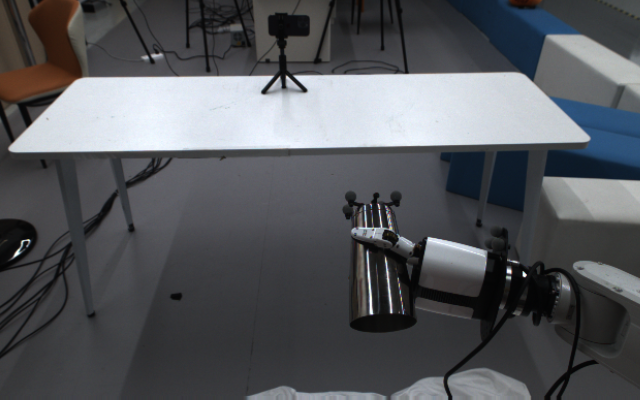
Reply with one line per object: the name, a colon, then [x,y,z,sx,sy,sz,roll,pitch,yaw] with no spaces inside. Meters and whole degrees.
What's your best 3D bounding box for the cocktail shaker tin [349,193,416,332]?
cocktail shaker tin: [0.082,0.093,0.693,0.093,0.093,0.170,0,59,-3]
